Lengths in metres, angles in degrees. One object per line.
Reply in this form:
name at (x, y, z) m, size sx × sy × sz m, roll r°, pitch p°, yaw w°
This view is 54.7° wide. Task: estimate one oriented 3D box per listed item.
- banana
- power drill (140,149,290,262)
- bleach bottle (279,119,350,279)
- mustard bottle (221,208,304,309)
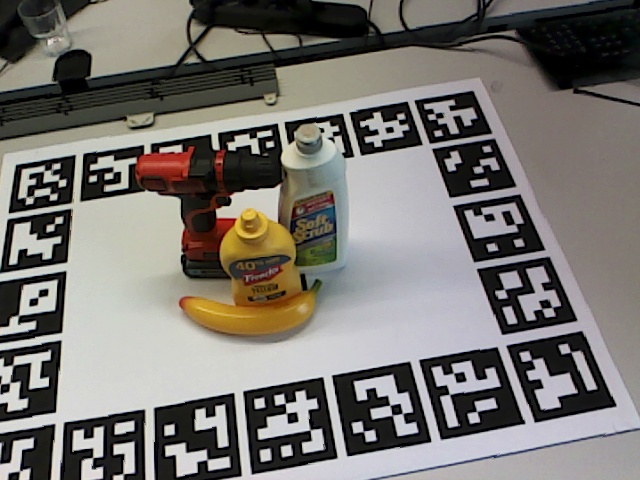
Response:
banana at (-0.085, 0.097, 0.838) m, size 0.197 × 0.038 × 0.074 m, roll -6°, pitch 57°, yaw 4°
power drill at (-0.125, -0.041, 0.806) m, size 0.185 × 0.186 × 0.057 m, roll 2°, pitch 56°, yaw 4°
bleach bottle at (-0.014, -0.049, 0.798) m, size 0.102 × 0.250 × 0.068 m, roll -6°, pitch 51°, yaw 0°
mustard bottle at (-0.074, 0.022, 0.784) m, size 0.096 × 0.191 × 0.058 m, roll -8°, pitch 56°, yaw -2°
